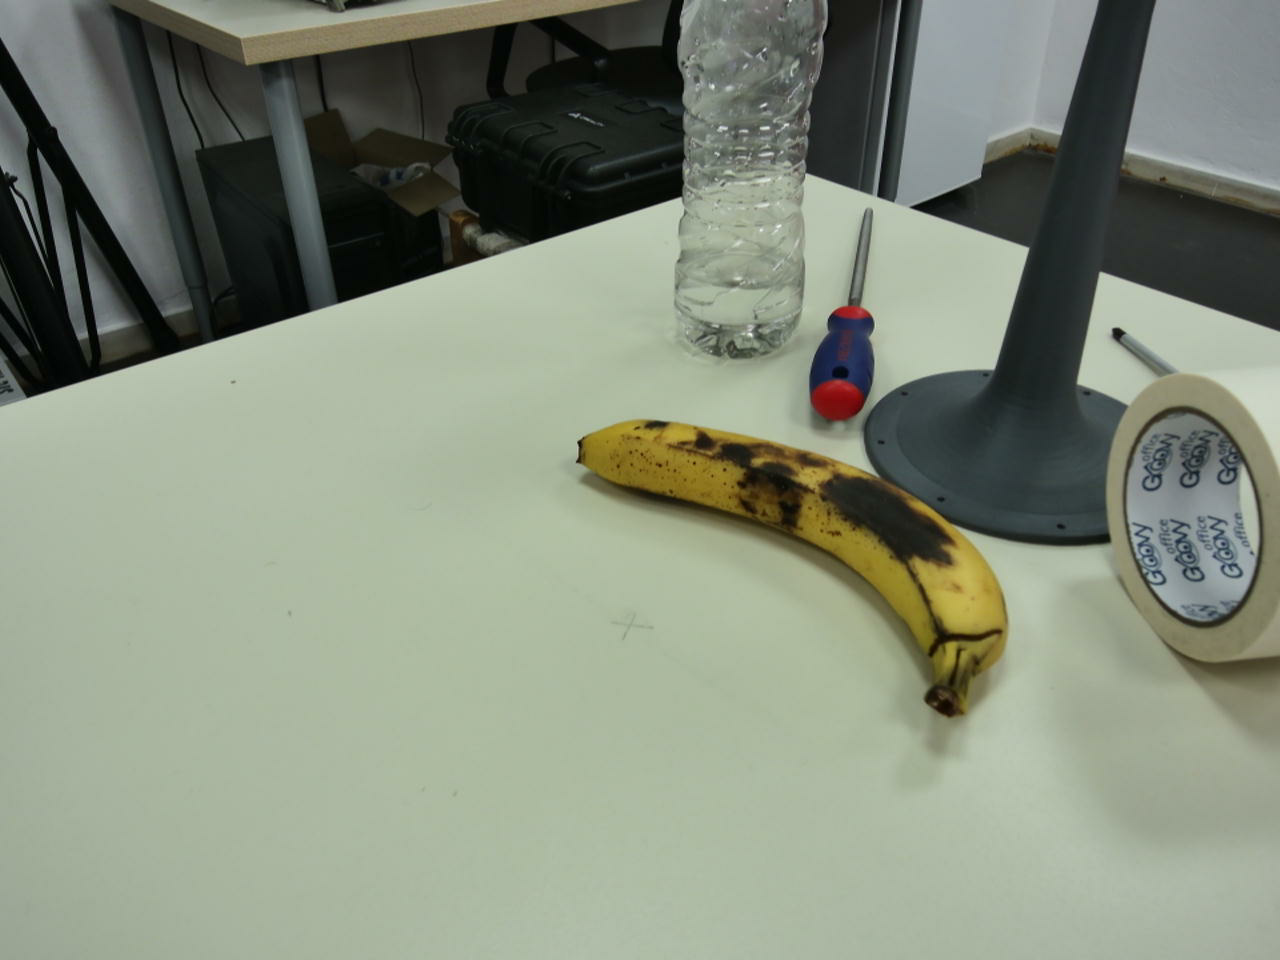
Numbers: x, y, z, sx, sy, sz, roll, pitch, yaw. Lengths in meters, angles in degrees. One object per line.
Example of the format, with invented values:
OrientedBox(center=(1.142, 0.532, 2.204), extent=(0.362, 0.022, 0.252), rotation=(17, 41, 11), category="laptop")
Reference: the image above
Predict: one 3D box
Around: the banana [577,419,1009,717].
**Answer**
OrientedBox(center=(0.068, 0.017, 0.426), extent=(0.084, 0.037, 0.222), rotation=(-24, 41, -29), category="banana")
